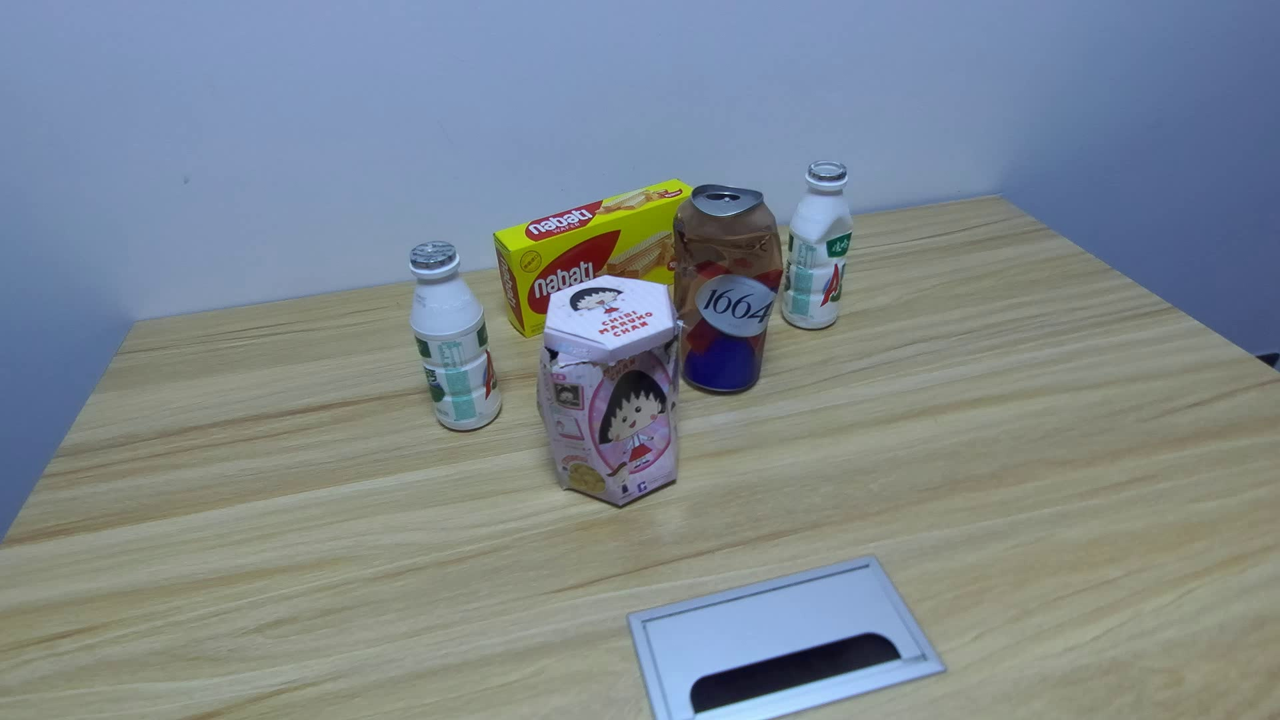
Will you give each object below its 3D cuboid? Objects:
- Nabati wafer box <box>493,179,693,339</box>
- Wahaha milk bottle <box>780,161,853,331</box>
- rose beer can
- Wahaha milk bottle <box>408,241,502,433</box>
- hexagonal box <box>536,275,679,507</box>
[{"bbox_3d":[-0.032,-0.100,0.678,0.203,0.093,0.042,-22,39,-22],"label":"Nabati wafer box"},{"bbox_3d":[0.155,-0.097,0.612,0.056,0.148,0.056,-1,36,1],"label":"Wahaha milk bottle"},{"bbox_3d":[0.064,-0.052,0.546,0.074,0.162,0.068,-9,36,-11],"label":"rose beer can"},{"bbox_3d":[-0.140,-0.015,0.529,0.053,0.147,0.053,-3,35,2],"label":"Wahaha milk bottle"},{"bbox_3d":[-0.020,0.021,0.480,0.091,0.135,0.090,2,35,8],"label":"hexagonal box"}]
